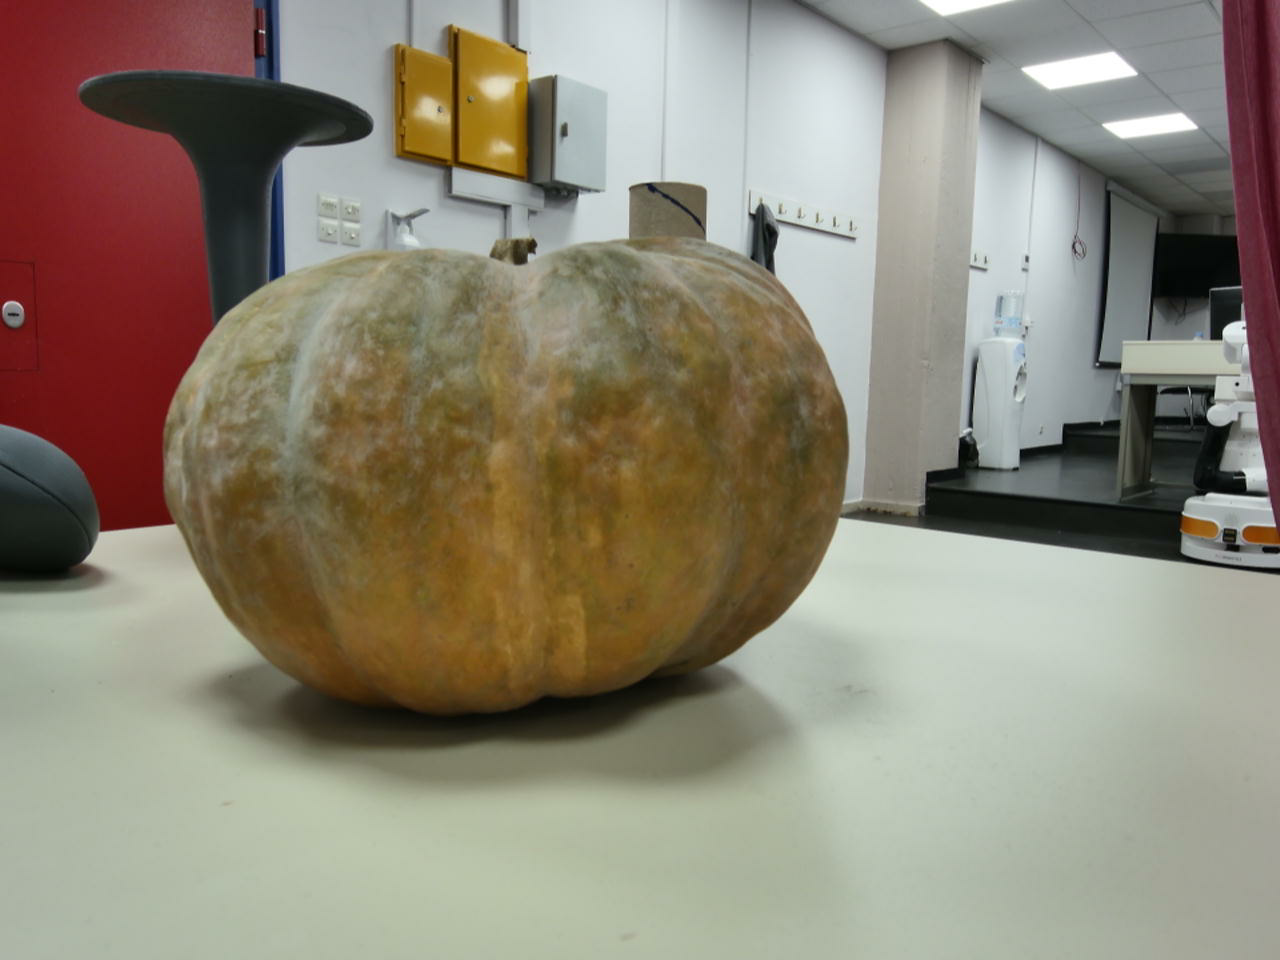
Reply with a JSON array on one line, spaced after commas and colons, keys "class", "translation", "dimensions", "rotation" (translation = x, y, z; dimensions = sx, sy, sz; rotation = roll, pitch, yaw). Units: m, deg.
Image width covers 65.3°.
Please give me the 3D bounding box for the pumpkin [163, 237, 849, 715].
[{"class": "pumpkin", "translation": [-0.048, -0.009, 0.382], "dimensions": [0.252, 0.168, 0.252], "rotation": [1, 4, 0]}]
